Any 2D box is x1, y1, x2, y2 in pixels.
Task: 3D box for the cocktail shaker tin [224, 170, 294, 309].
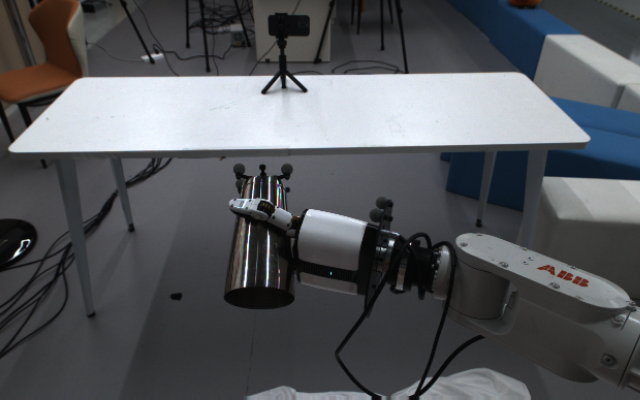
[{"bbox_3d":[-0.082,0.054,0.664,0.093,0.093,0.170,0,59,-3],"label":"cocktail shaker tin"}]
